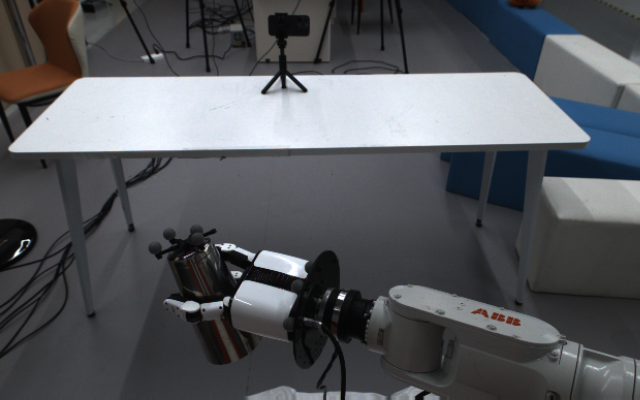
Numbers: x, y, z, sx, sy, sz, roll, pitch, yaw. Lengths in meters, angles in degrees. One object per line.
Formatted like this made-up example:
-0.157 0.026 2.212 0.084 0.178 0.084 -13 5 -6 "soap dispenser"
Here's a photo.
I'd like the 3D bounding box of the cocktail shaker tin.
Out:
-0.156 0.143 0.700 0.093 0.170 0.093 -17 20 6 "cocktail shaker tin"
